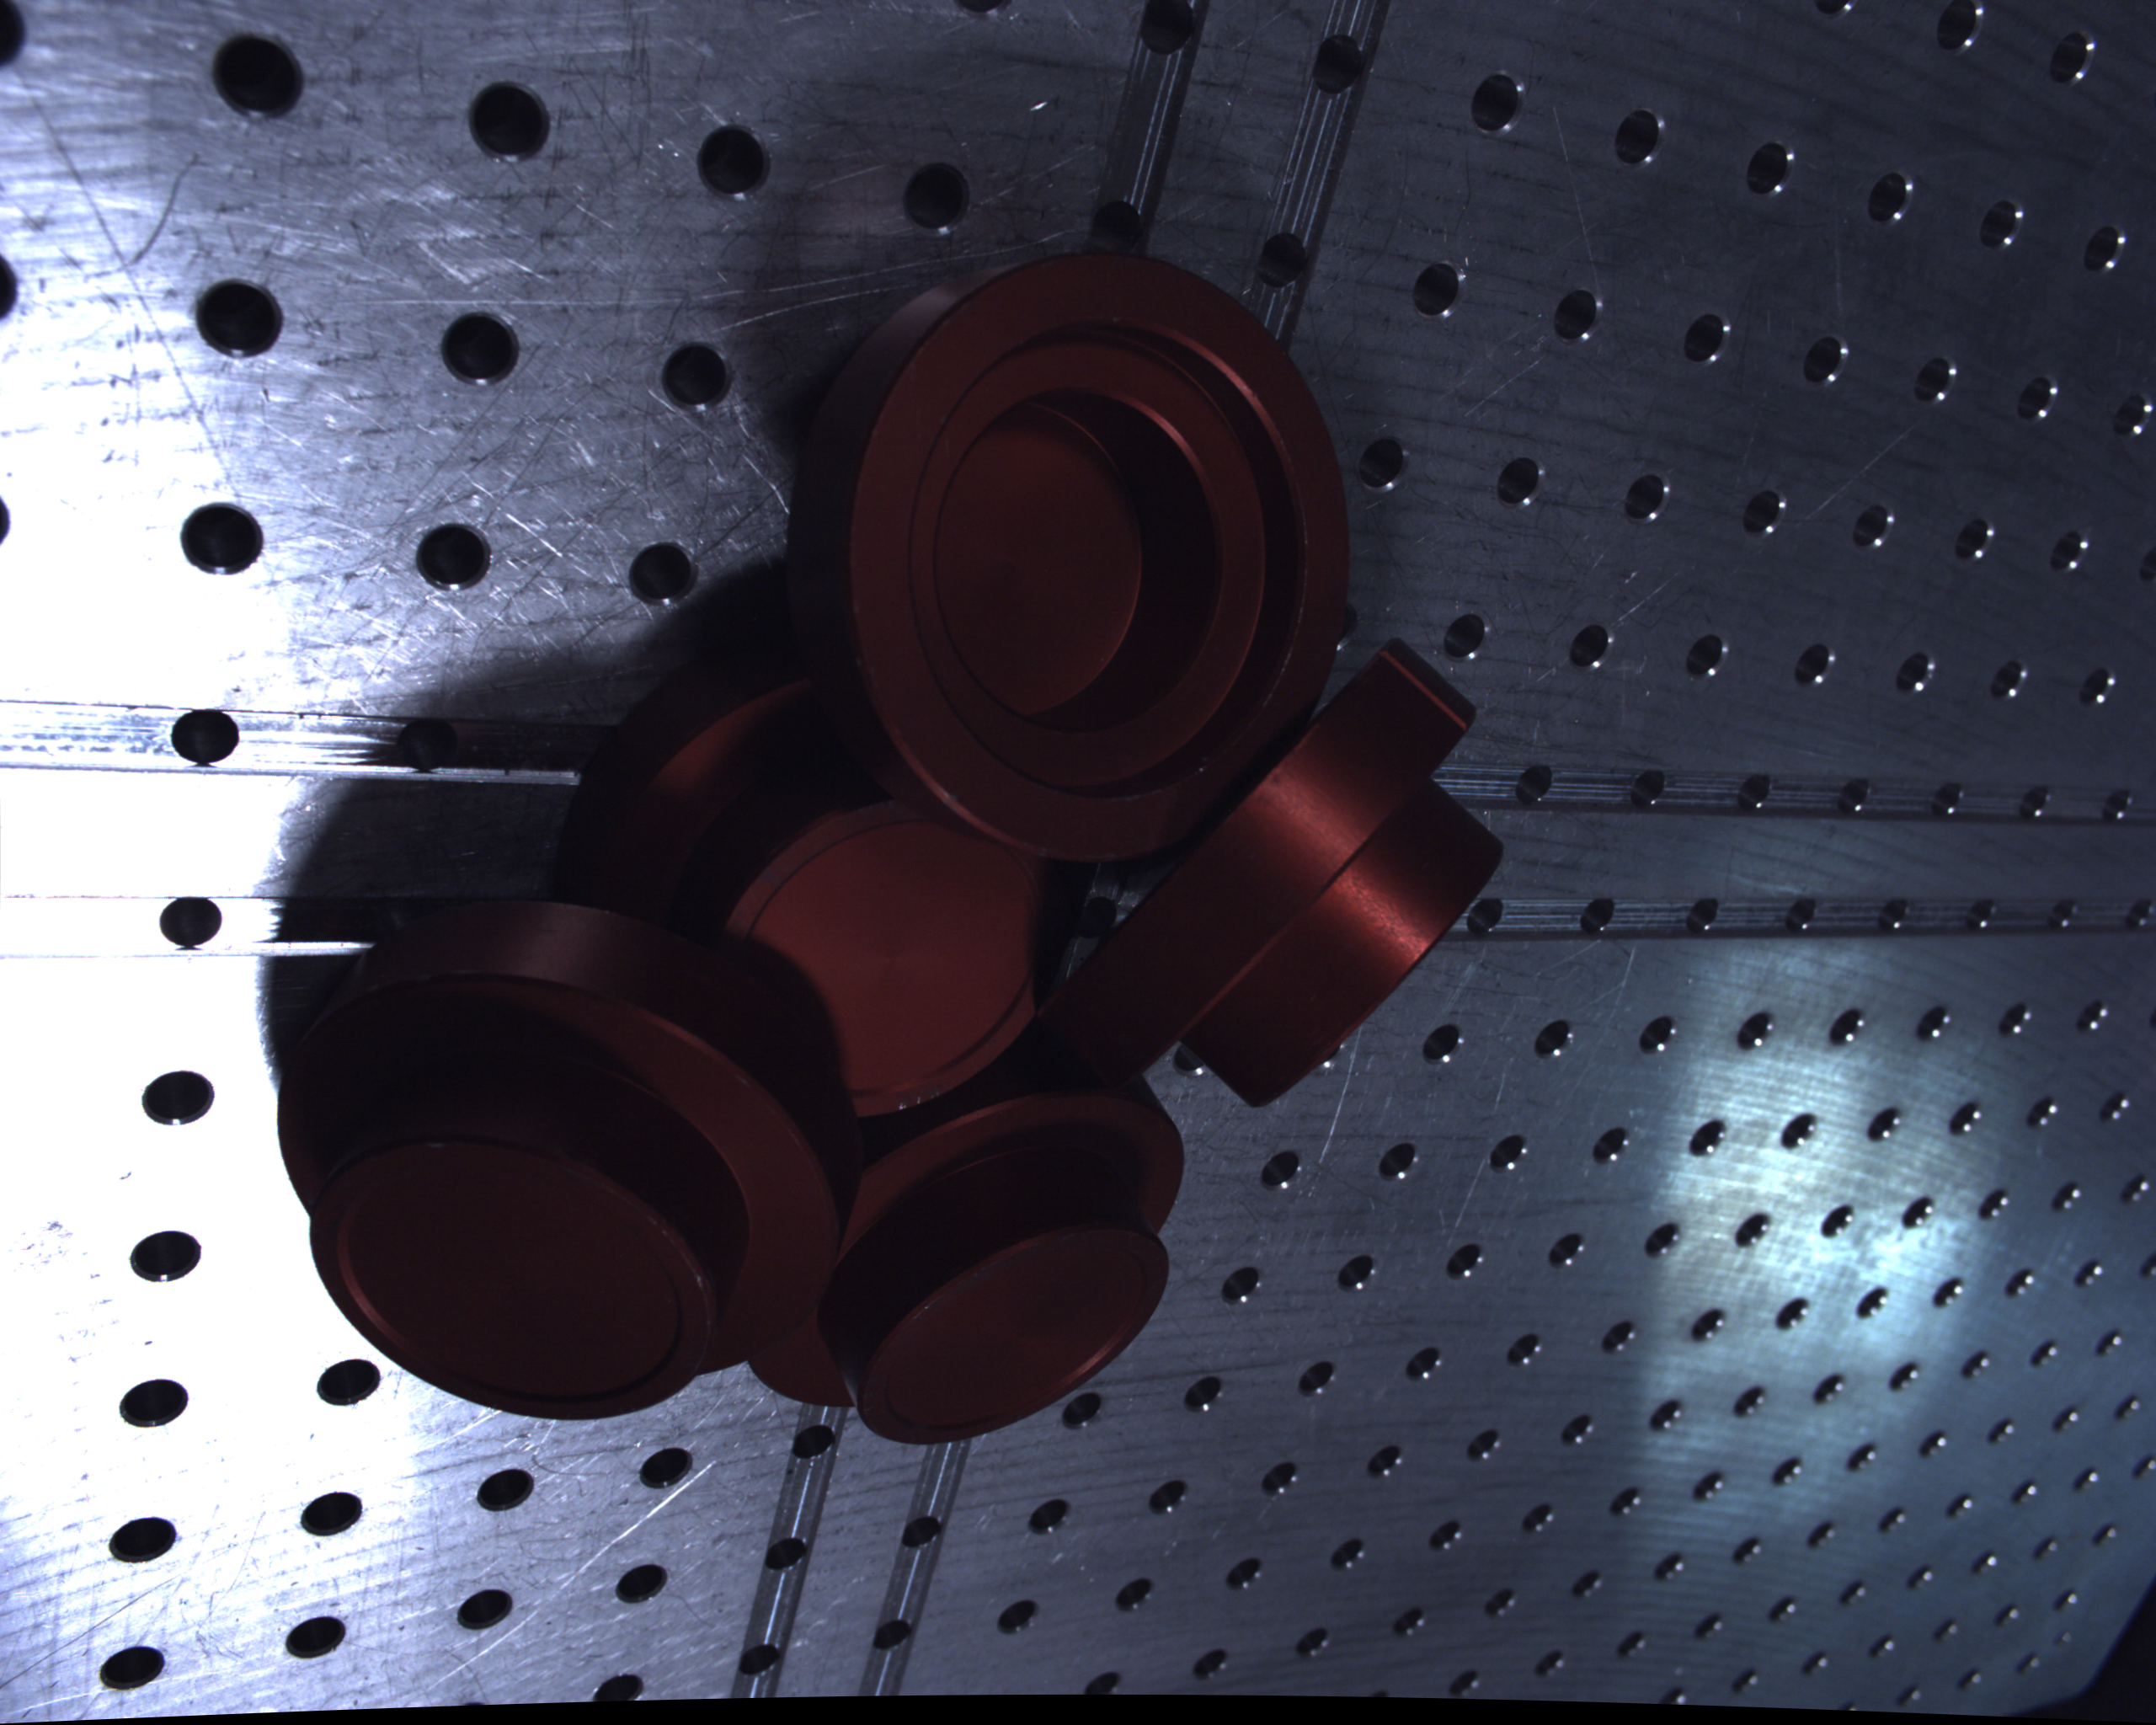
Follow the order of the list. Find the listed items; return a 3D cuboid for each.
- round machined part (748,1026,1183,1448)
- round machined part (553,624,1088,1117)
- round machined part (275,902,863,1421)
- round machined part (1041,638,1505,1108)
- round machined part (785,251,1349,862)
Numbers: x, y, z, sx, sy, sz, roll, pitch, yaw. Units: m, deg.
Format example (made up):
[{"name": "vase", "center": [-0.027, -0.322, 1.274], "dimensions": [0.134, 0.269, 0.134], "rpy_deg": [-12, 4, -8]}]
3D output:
[{"name": "round machined part", "center": [-0.021, 0.081, 0.424], "dimensions": [0.099, 0.042, 0.097], "rpy_deg": [-20, 139, -18]}, {"name": "round machined part", "center": [-0.042, 0.008, 0.382], "dimensions": [0.099, 0.042, 0.097], "rpy_deg": [-14, 125, -21]}, {"name": "round machined part", "center": [-0.090, 0.058, 0.357], "dimensions": [0.099, 0.042, 0.097], "rpy_deg": [4, 127, 6]}, {"name": "round machined part", "center": [0.041, 0.007, 0.391], "dimensions": [0.042, 0.098, 0.098], "rpy_deg": [43, 95, 2]}, {"name": "round machined part", "center": [-0.005, -0.051, 0.353], "dimensions": [0.099, 0.042, 0.097], "rpy_deg": [-6, 101, -33]}]
